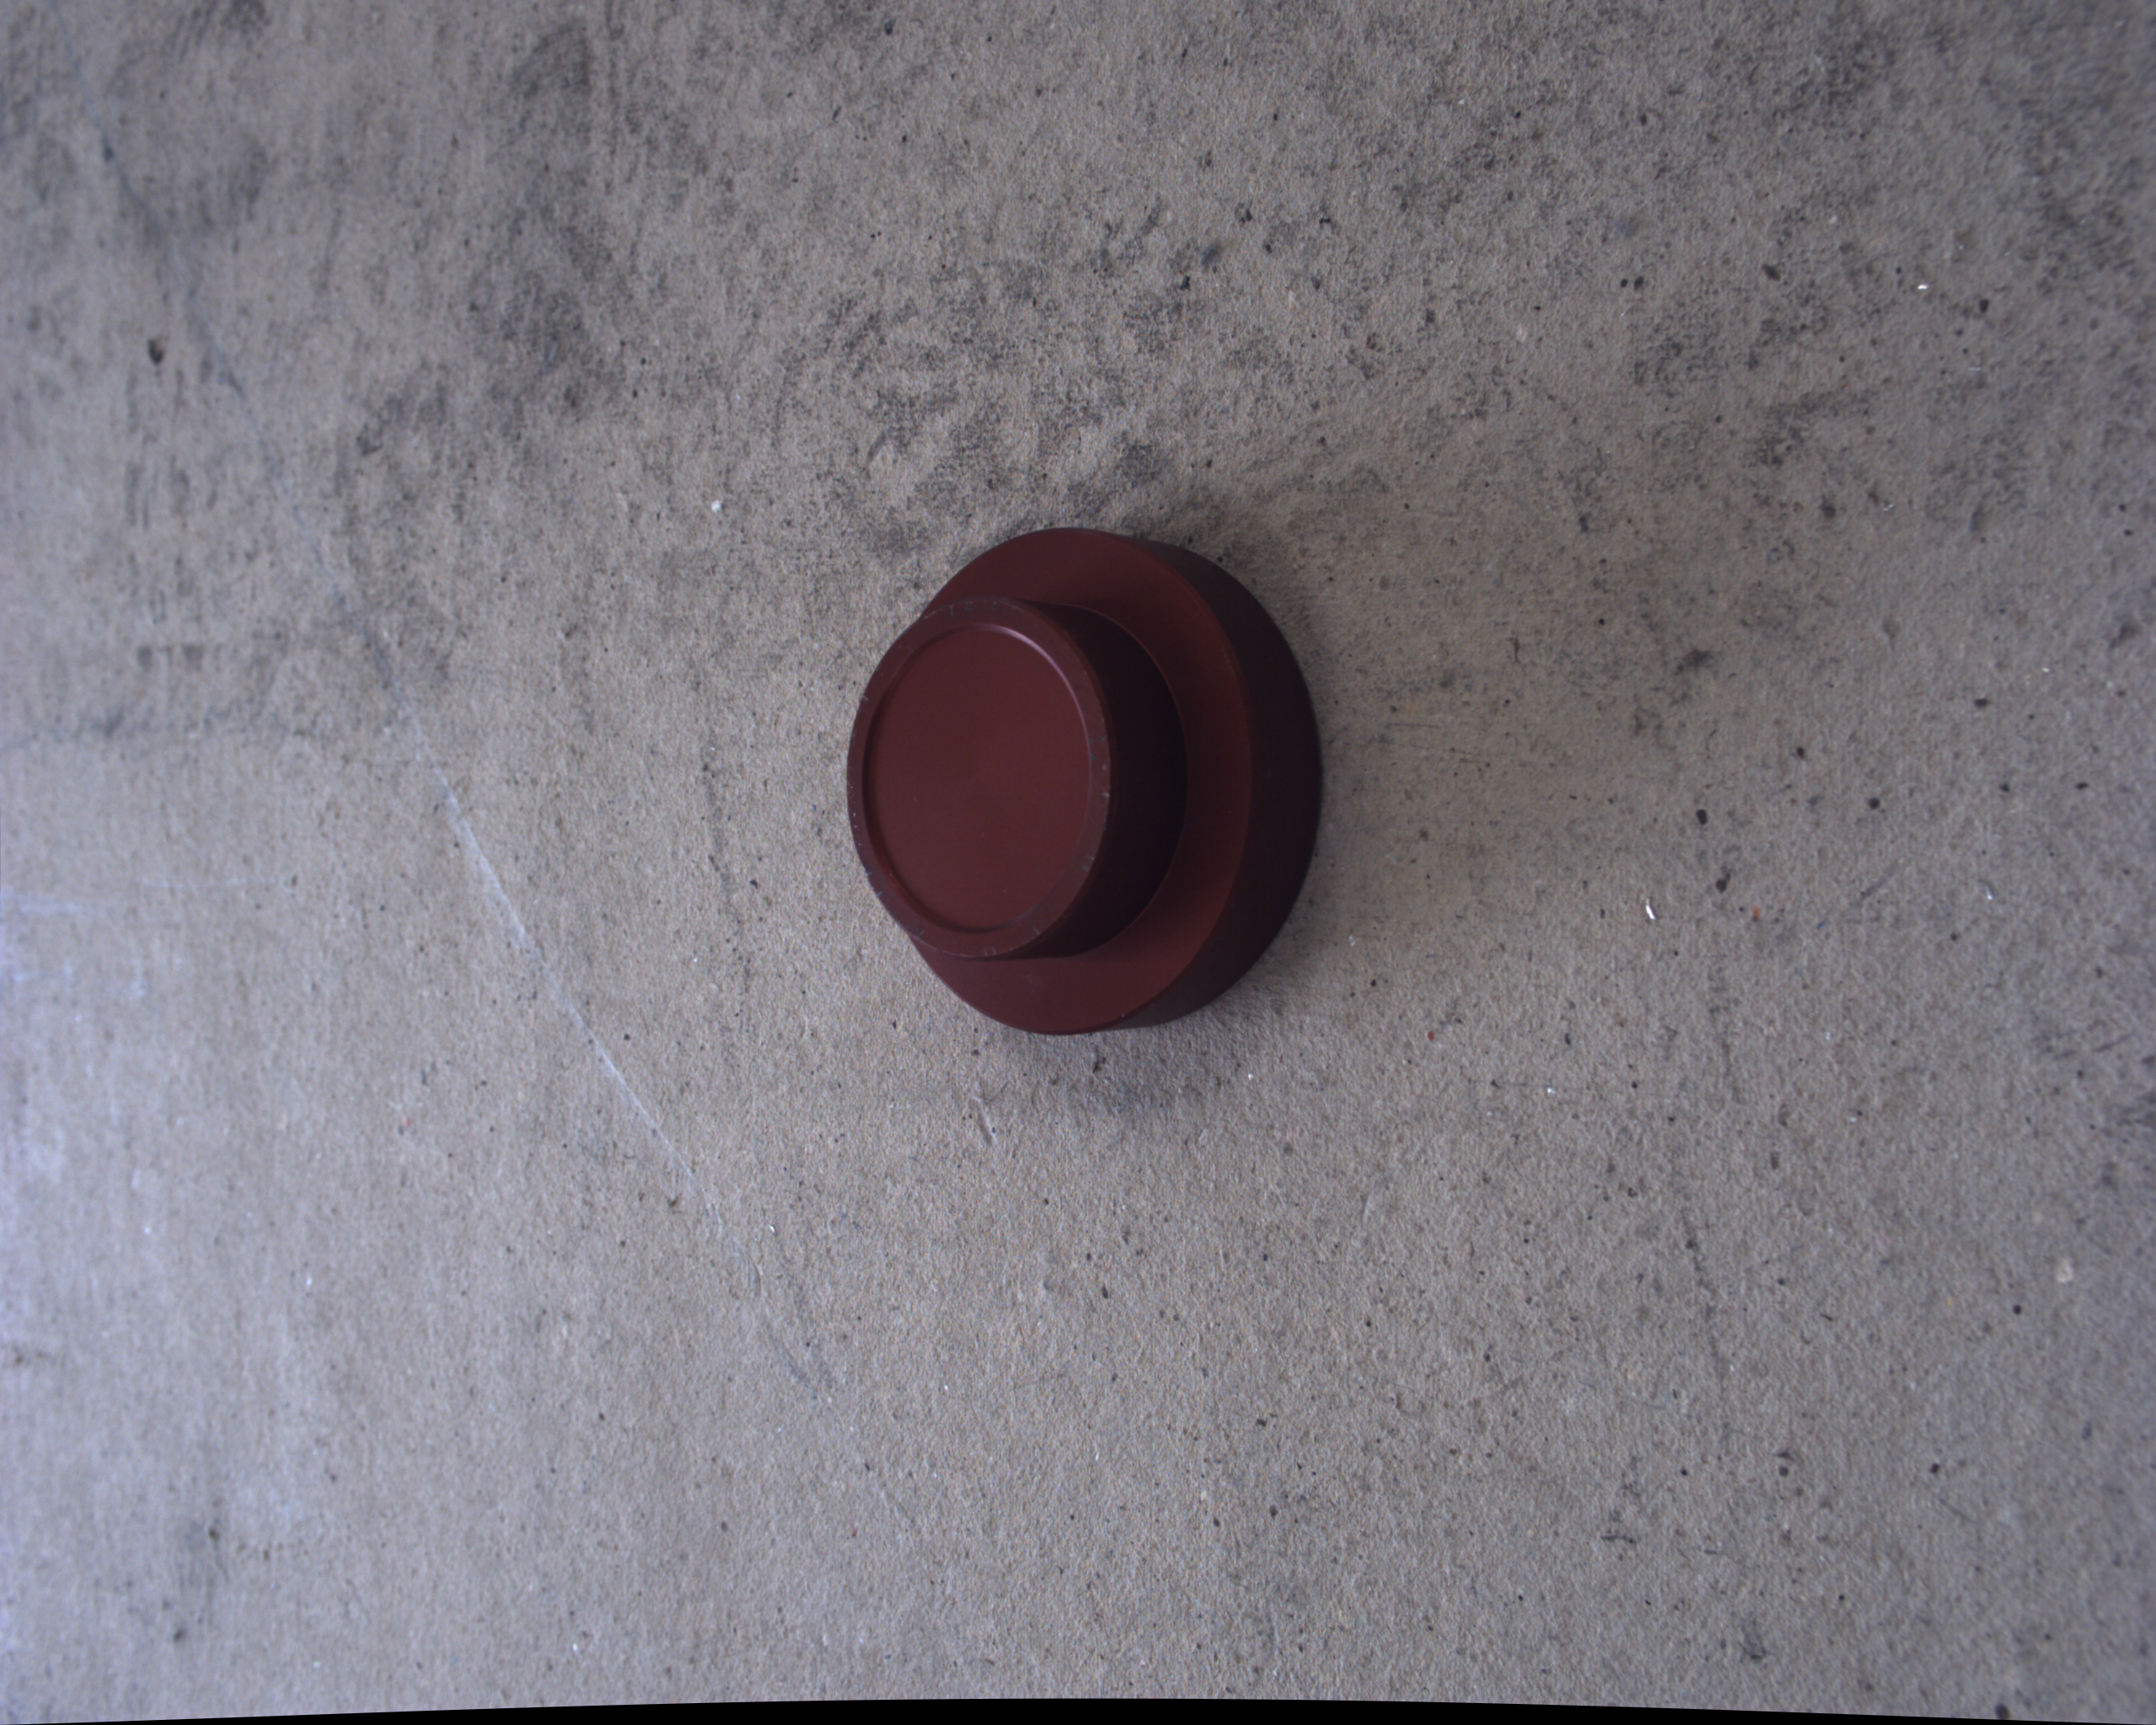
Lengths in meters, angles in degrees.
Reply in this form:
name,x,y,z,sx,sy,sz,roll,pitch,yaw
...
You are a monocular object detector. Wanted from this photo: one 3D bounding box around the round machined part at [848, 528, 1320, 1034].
name,x,y,z,sx,sy,sz,roll,pitch,yaw
round machined part,-0.006,-0.016,0.402,0.098,0.042,0.097,0,90,40
